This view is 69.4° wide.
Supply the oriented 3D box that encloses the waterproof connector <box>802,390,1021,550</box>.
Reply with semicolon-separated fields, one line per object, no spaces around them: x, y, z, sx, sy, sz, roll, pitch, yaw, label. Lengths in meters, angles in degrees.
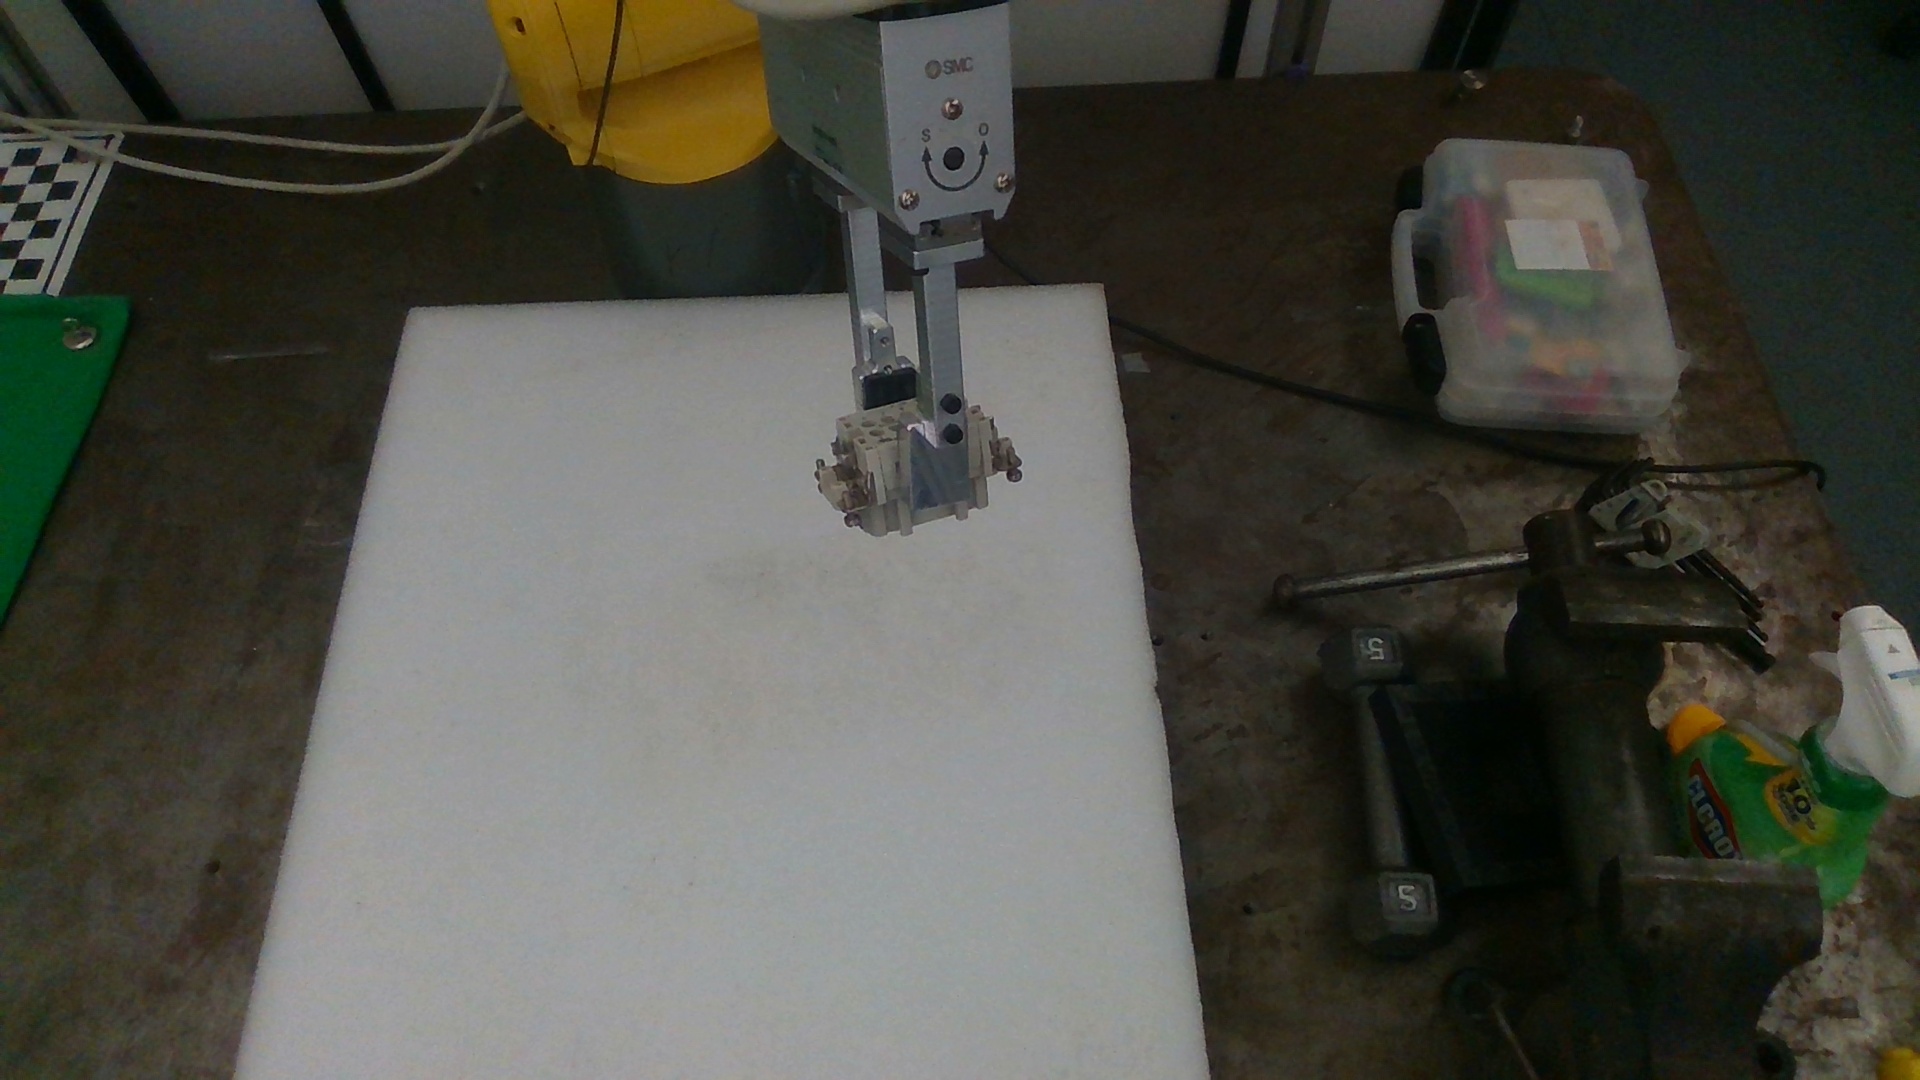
-0.017;-0.022;0.458;0.069;0.038;0.037;-19;28;-18;waterproof connector
